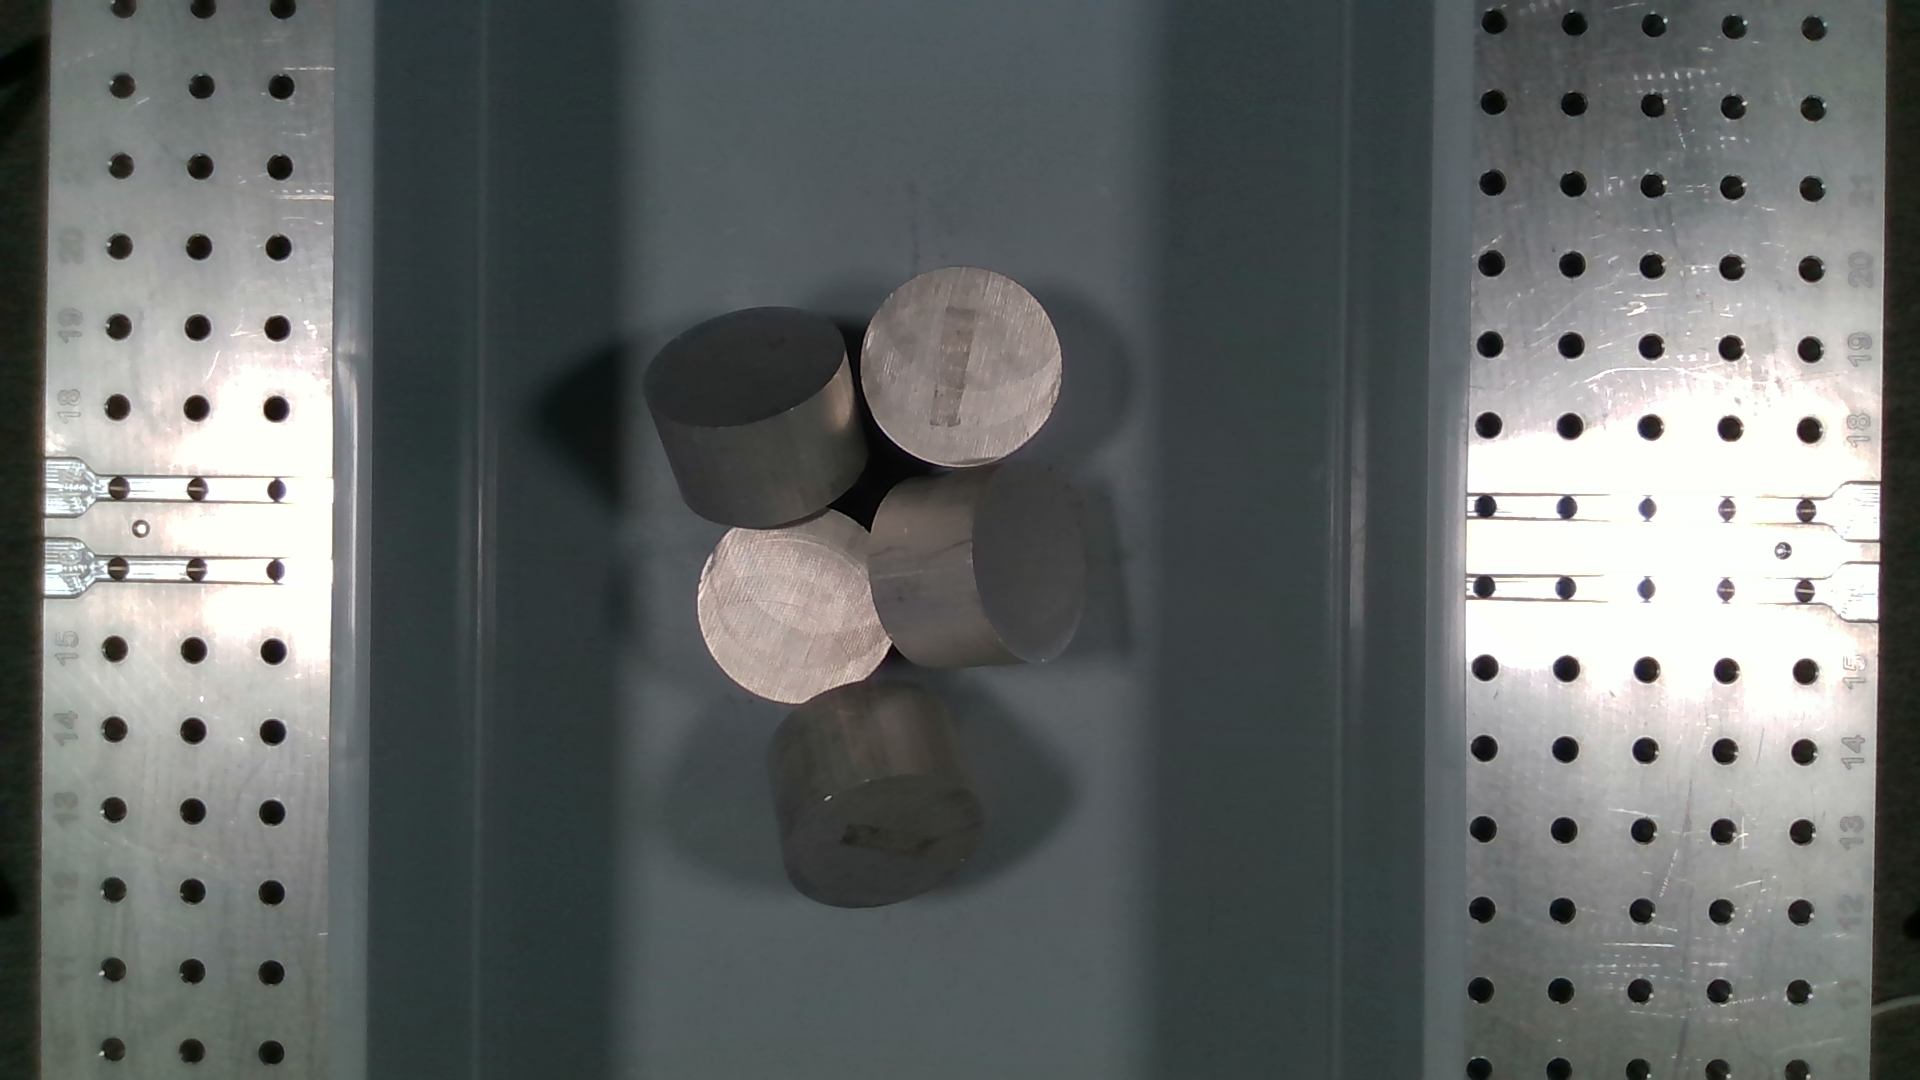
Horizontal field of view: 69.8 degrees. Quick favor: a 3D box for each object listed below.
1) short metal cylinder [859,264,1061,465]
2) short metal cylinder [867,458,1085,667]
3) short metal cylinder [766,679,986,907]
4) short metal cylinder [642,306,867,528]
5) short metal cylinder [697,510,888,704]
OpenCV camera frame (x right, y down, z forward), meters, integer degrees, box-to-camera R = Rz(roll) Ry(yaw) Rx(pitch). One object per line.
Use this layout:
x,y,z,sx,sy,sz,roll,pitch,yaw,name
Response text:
0.000,-0.070,0.572,0.080,0.050,0.080,0,90,0,short metal cylinder
0.008,0.011,0.551,0.050,0.080,0.080,-8,90,36,short metal cylinder
-0.035,0.102,0.554,0.080,0.050,0.080,-9,131,-11,short metal cylinder
-0.080,-0.050,0.551,0.080,0.080,0.050,-11,132,0,short metal cylinder
-0.065,0.025,0.573,0.080,0.050,0.080,0,90,0,short metal cylinder
